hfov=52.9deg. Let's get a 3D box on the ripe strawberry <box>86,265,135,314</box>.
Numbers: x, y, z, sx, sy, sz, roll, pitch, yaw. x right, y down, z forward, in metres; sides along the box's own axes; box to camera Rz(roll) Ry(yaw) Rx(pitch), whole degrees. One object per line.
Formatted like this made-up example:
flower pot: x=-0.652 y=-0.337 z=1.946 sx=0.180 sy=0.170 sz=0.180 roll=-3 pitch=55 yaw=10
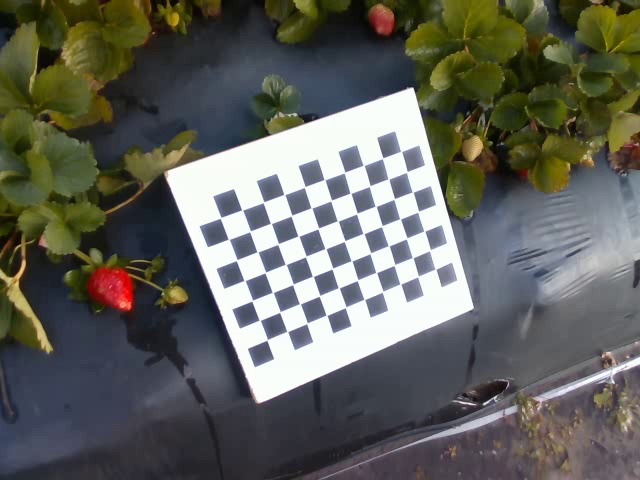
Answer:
ripe strawberry: x=-0.204 y=0.054 z=0.634 sx=0.057 sy=0.043 sz=0.052 roll=39 pitch=-7 yaw=42
